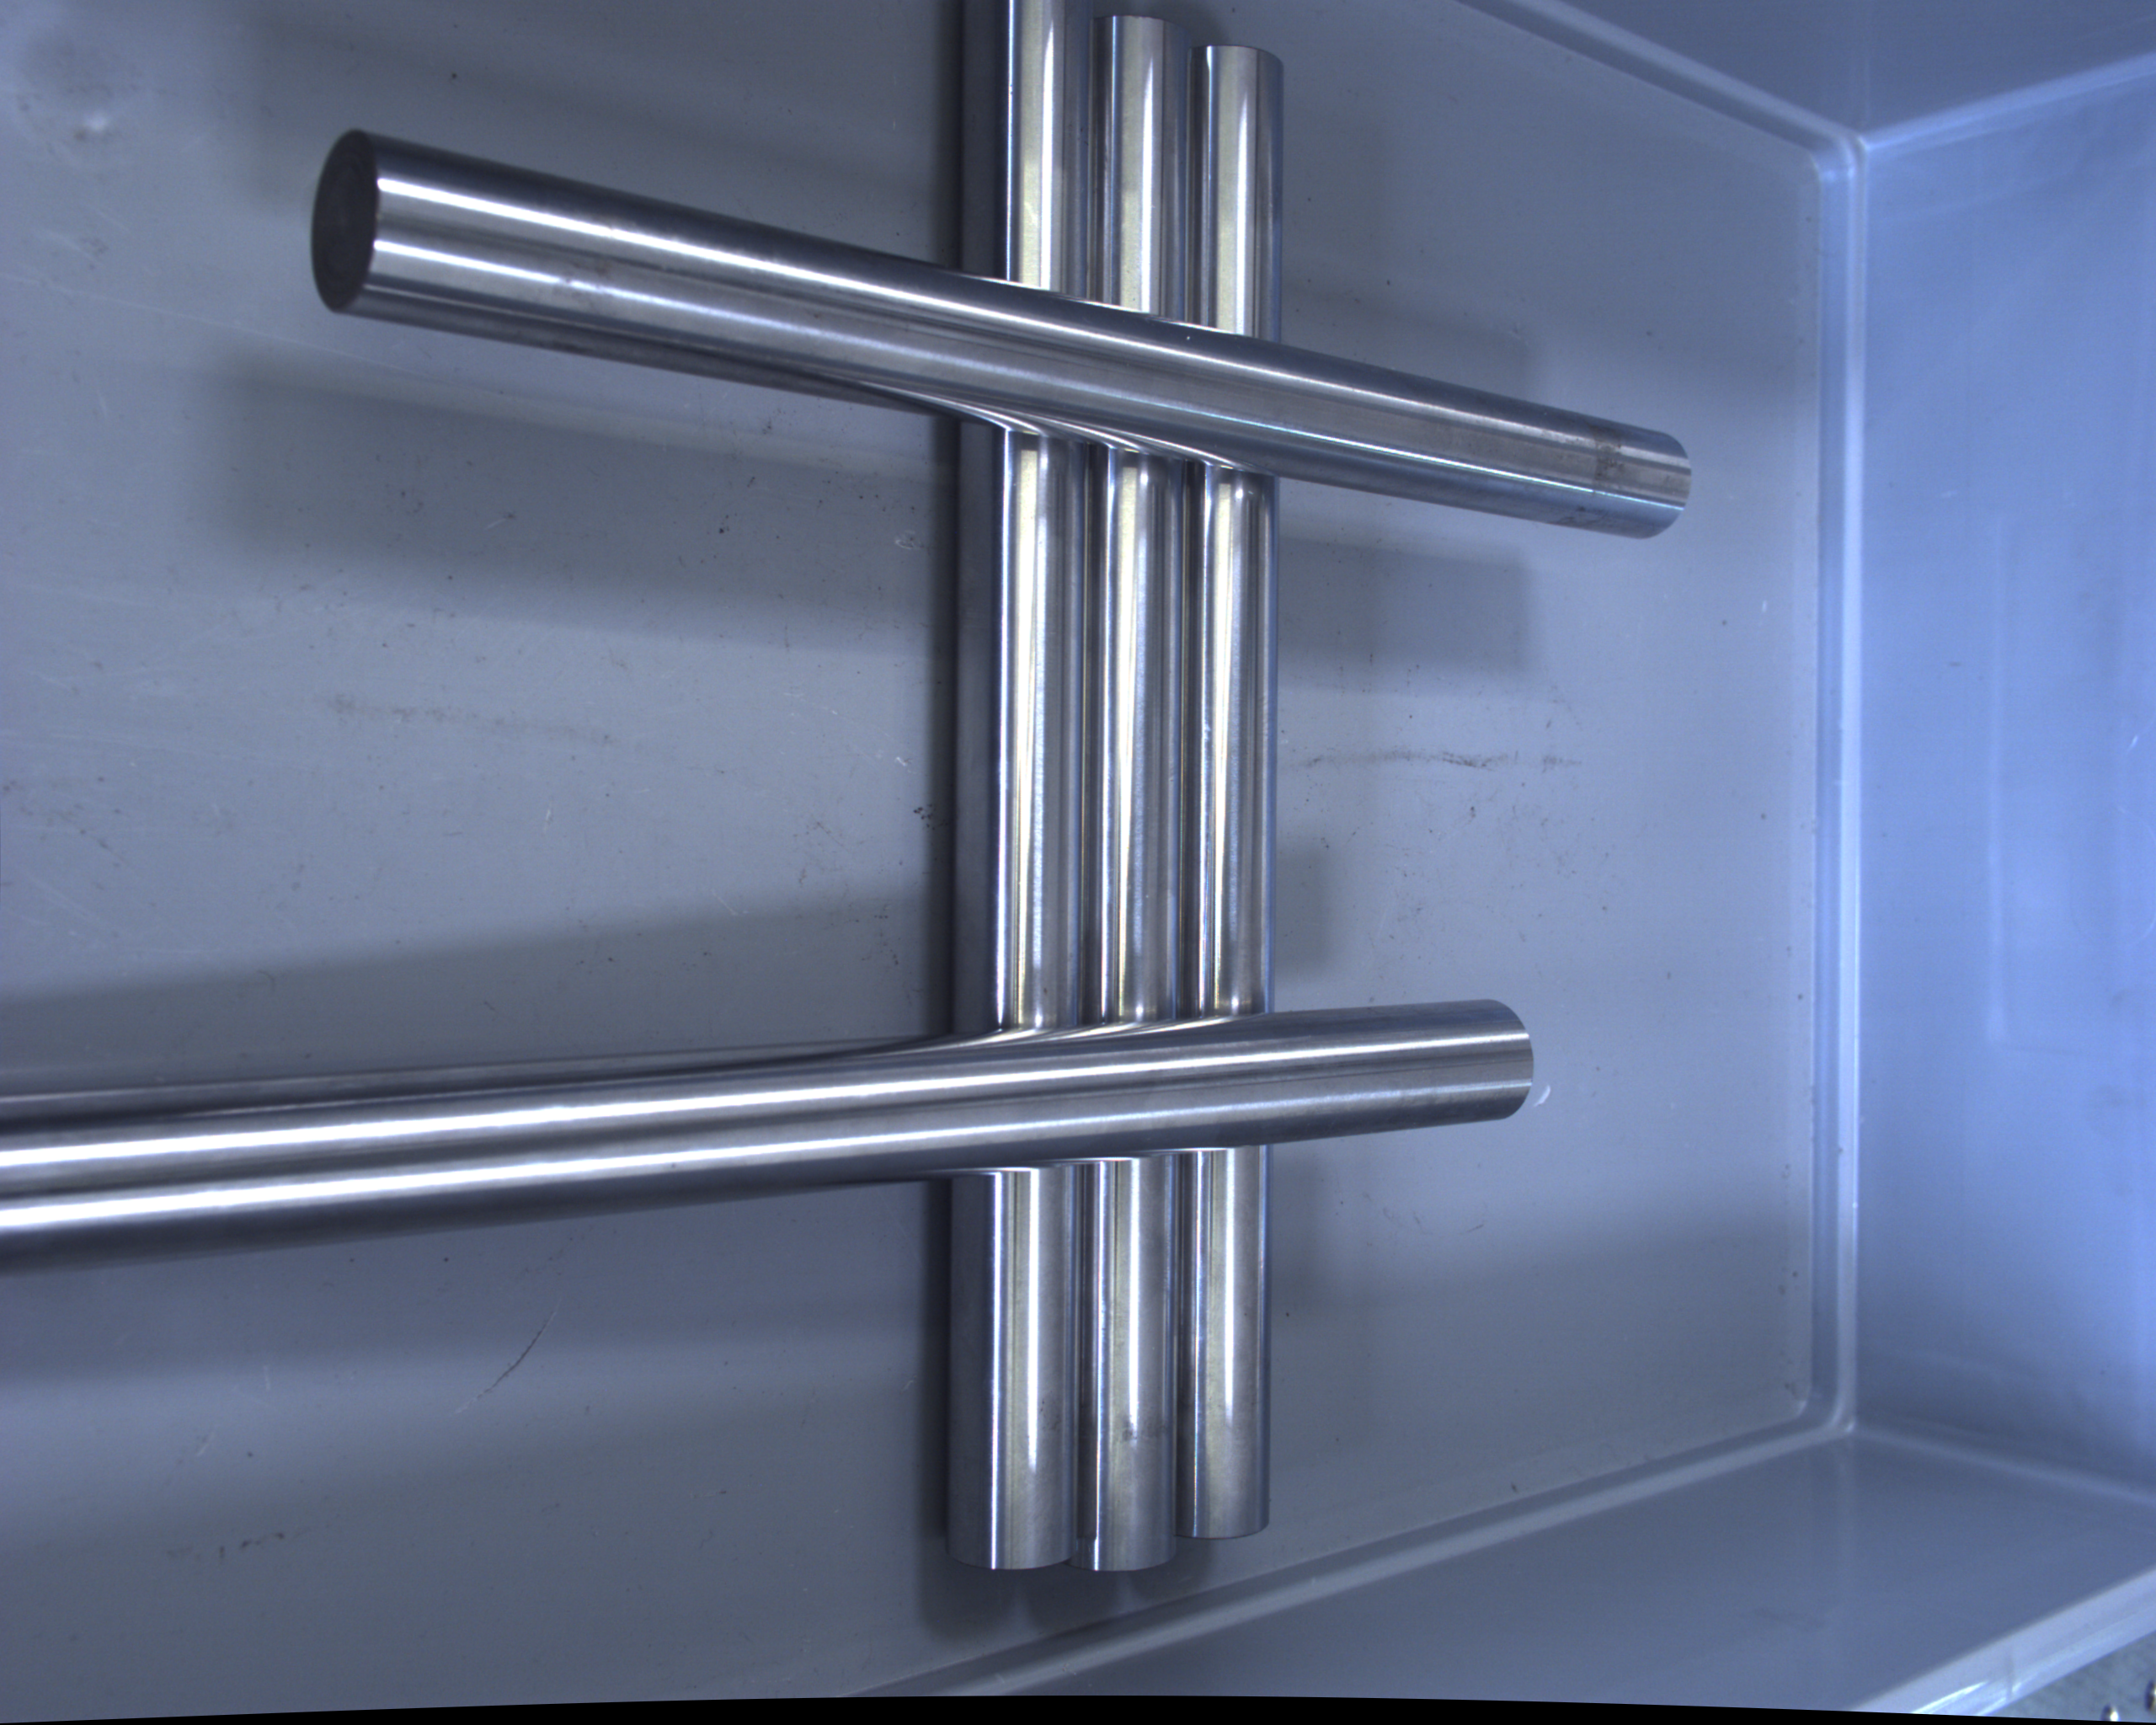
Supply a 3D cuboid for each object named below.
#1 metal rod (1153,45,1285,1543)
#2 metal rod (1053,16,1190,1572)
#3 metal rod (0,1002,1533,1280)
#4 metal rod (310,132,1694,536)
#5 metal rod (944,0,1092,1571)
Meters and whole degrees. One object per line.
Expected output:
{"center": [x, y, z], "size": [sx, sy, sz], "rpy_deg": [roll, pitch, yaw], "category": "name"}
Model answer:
{"center": [0.028, -0.014, 0.427], "size": [0.025, 0.025, 0.298], "rpy_deg": [1, 89, -40], "category": "metal rod"}
{"center": [0.008, -0.014, 0.412], "size": [0.025, 0.025, 0.298], "rpy_deg": [1, 89, -40], "category": "metal rod"}
{"center": [-0.043, 0.042, 0.346], "size": [0.303, 0.025, 0.025], "rpy_deg": [-1, 91, -33], "category": "metal rod"}
{"center": [0.015, -0.087, 0.384], "size": [0.302, 0.025, 0.025], "rpy_deg": [0, 90, -40], "category": "metal rod"}
{"center": [-0.011, -0.019, 0.396], "size": [0.025, 0.025, 0.298], "rpy_deg": [1, 90, -40], "category": "metal rod"}
